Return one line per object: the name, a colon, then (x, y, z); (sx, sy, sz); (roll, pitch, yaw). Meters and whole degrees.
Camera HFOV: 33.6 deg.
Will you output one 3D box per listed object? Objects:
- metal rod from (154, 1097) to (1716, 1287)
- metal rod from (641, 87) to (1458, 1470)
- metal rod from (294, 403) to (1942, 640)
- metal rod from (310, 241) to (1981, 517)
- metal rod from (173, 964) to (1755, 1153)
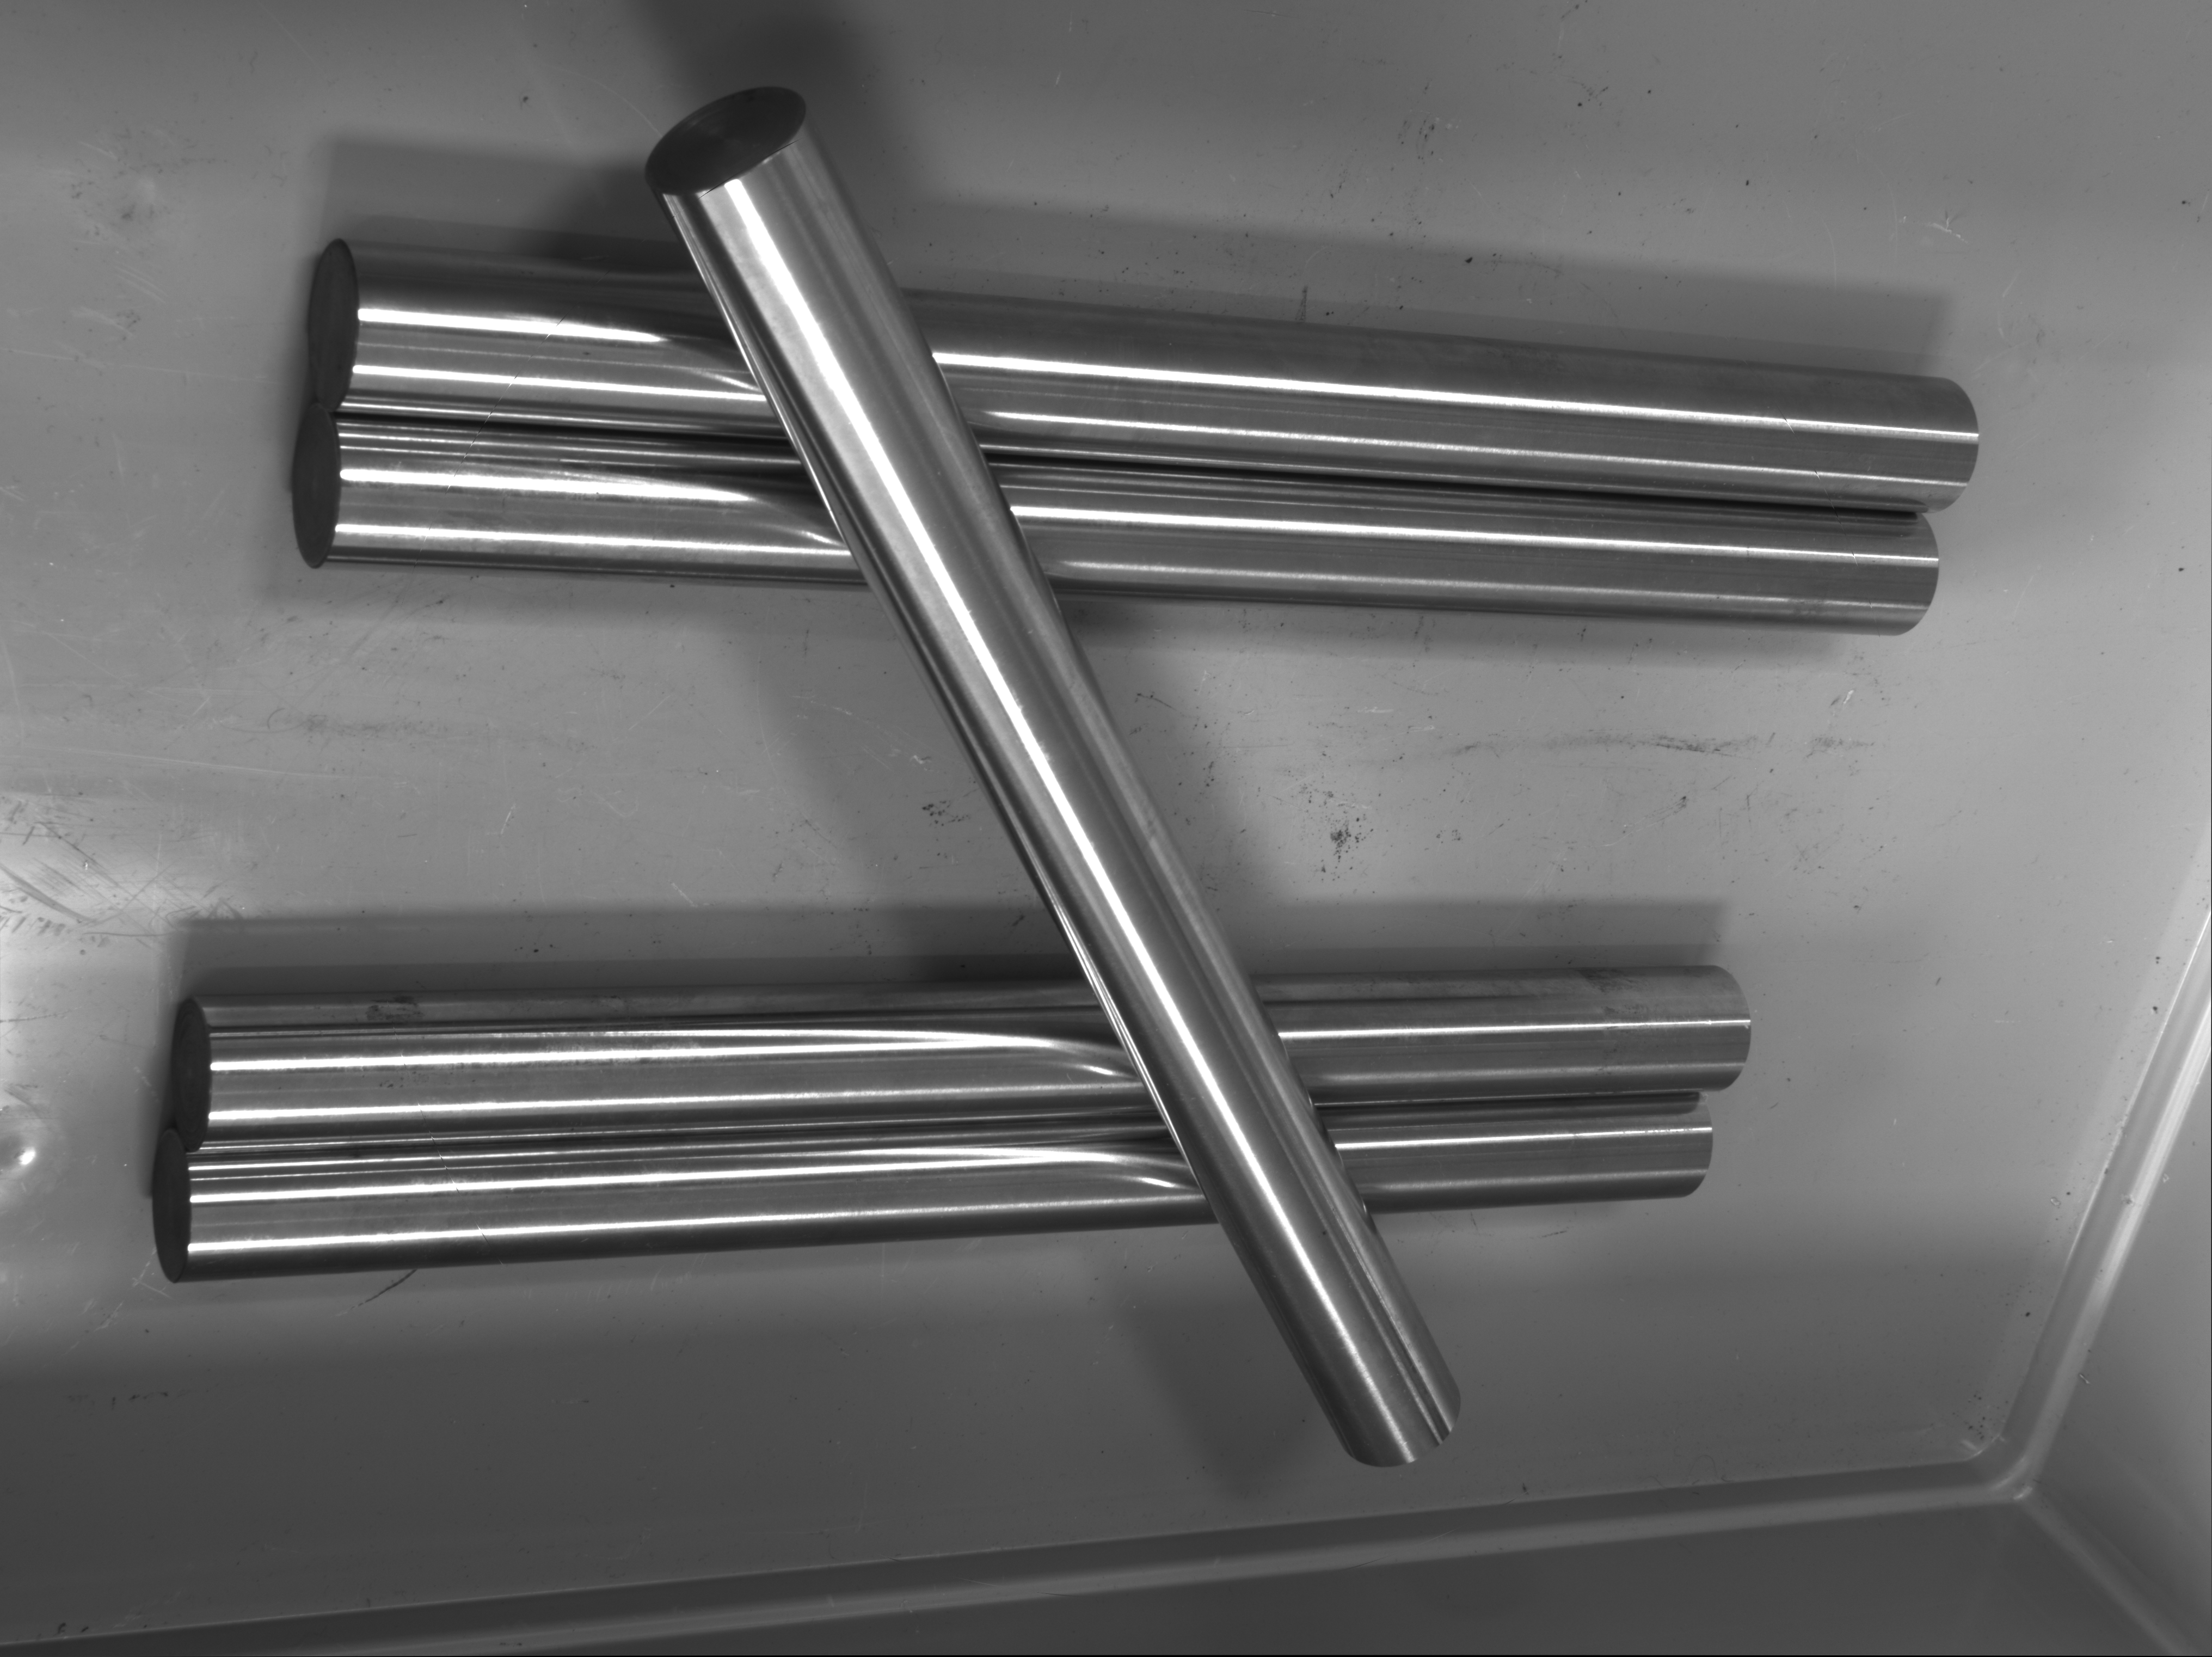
metal rod: (-0.018, 0.062, 0.663); (0.301, 0.025, 0.025); (0, 118, -28)
metal rod: (0.001, 0.008, 0.609); (0.025, 0.025, 0.301); (-33, 128, -7)
metal rod: (0.016, -0.049, 0.614); (0.301, 0.025, 0.025); (1, 118, -29)
metal rod: (0.020, -0.071, 0.603); (0.301, 0.025, 0.025); (1, 118, -29)
metal rod: (-0.012, 0.039, 0.652); (0.301, 0.025, 0.025); (0, 118, -28)
